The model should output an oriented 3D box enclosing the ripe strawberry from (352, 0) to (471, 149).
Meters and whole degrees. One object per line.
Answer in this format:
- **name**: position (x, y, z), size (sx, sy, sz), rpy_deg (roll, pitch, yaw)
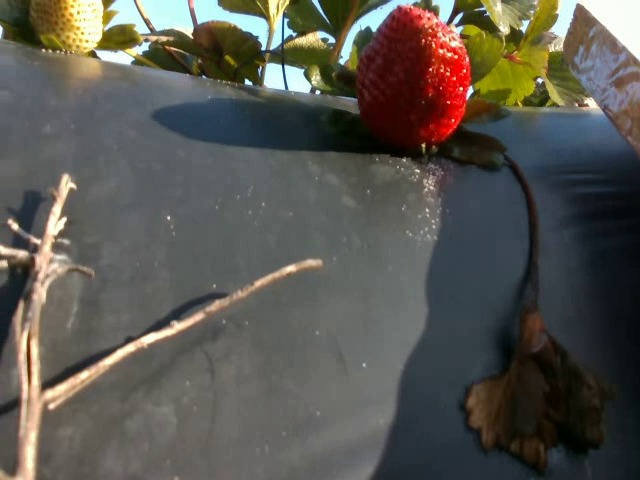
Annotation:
- **ripe strawberry**: position (0.010, -0.017, 0.061), size (0.015, 0.015, 0.023), rpy_deg (11, -12, 2)
